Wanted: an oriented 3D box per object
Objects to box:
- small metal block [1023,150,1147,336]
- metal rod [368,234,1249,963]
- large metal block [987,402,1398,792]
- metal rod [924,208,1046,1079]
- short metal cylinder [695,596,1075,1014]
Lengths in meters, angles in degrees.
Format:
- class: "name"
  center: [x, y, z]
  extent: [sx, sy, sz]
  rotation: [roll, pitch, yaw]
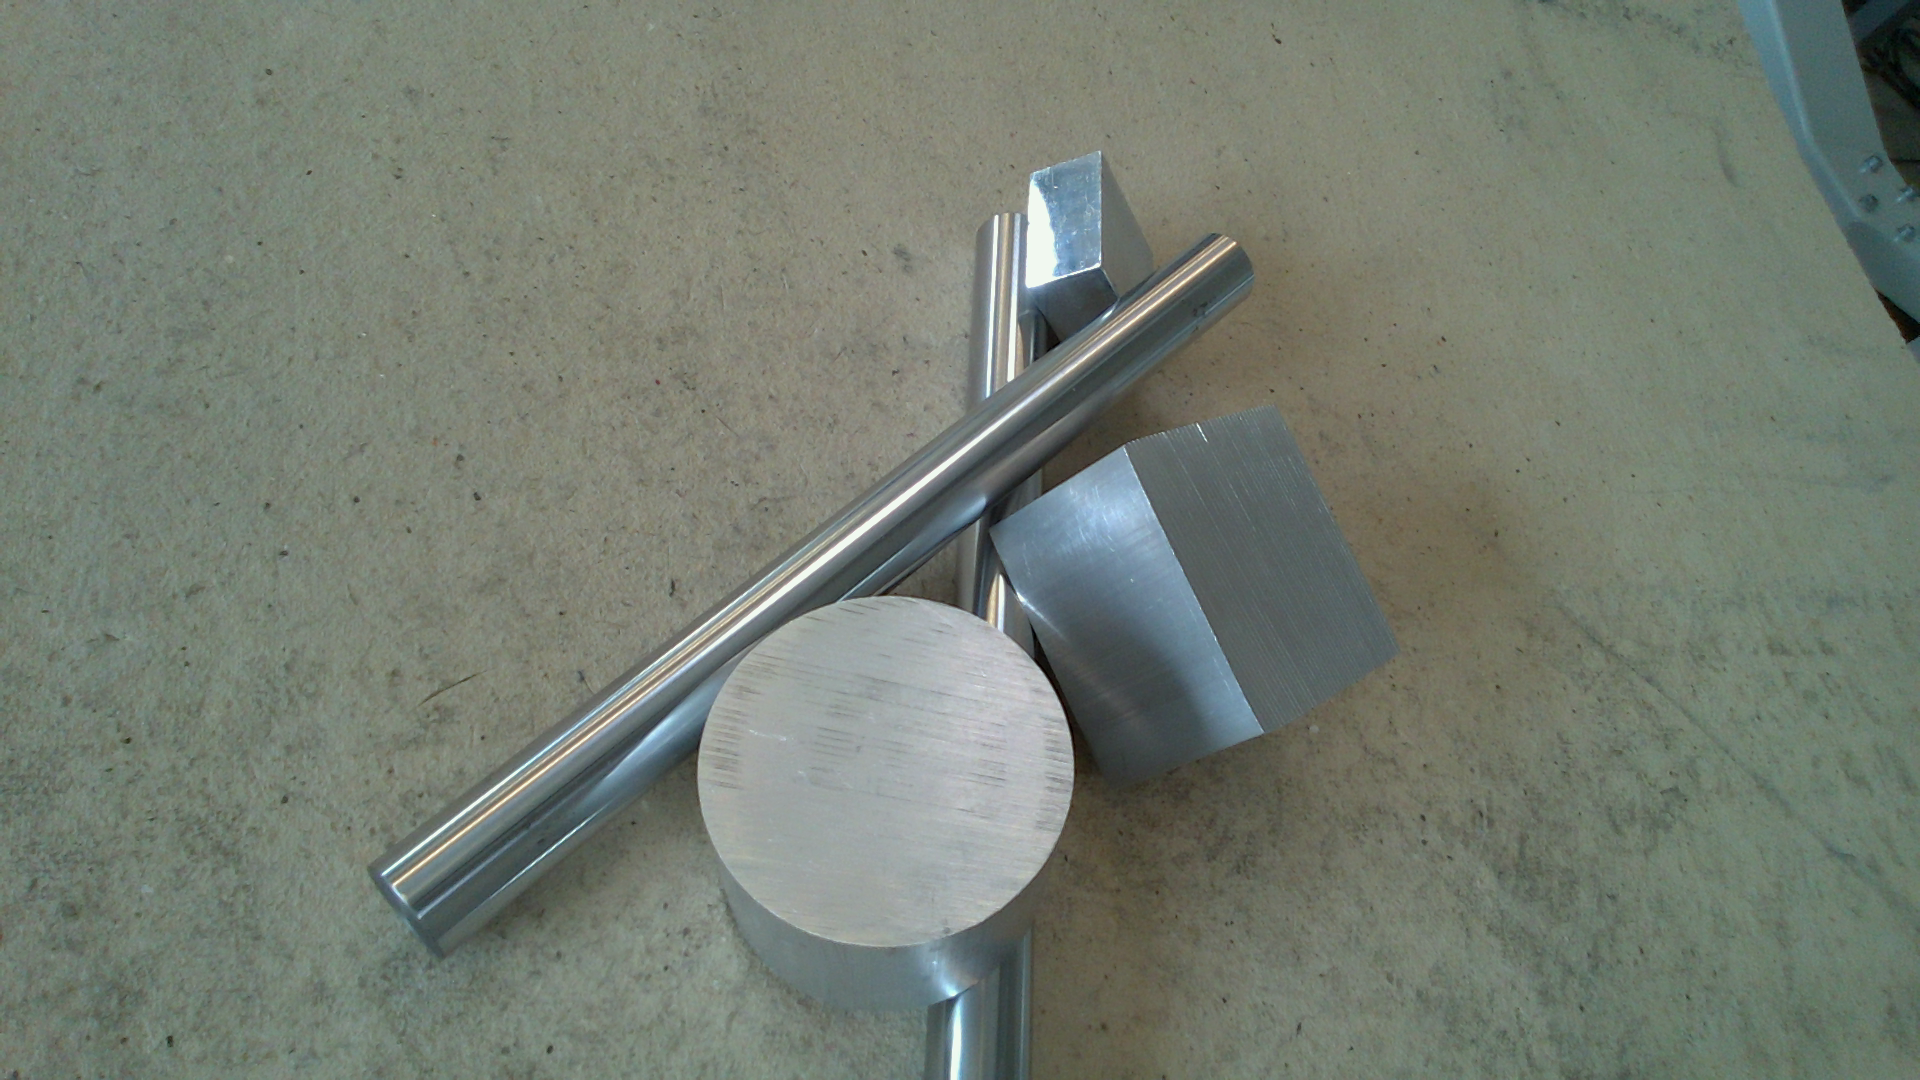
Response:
- class: "small metal block"
  center: [0.043, -0.089, 0.451]
  extent: [0.050, 0.025, 0.050]
  rotation: [49, 35, -48]
- class: "metal rod"
  center: [-0.016, -0.005, 0.362]
  extent: [0.025, 0.025, 0.301]
  rotation: [47, 58, 5]
- class: "large metal block"
  center: [0.066, 0.013, 0.382]
  extent: [0.080, 0.050, 0.080]
  rotation: [-17, 79, -48]
- class: "metal rod"
  center: [0.010, 0.024, 0.379]
  extent: [0.025, 0.025, 0.300]
  rotation: [16, 55, -19]
- class: "short metal cylinder"
  center: [-0.017, 0.060, 0.312]
  extent: [0.080, 0.050, 0.080]
  rotation: [2, 57, -3]
